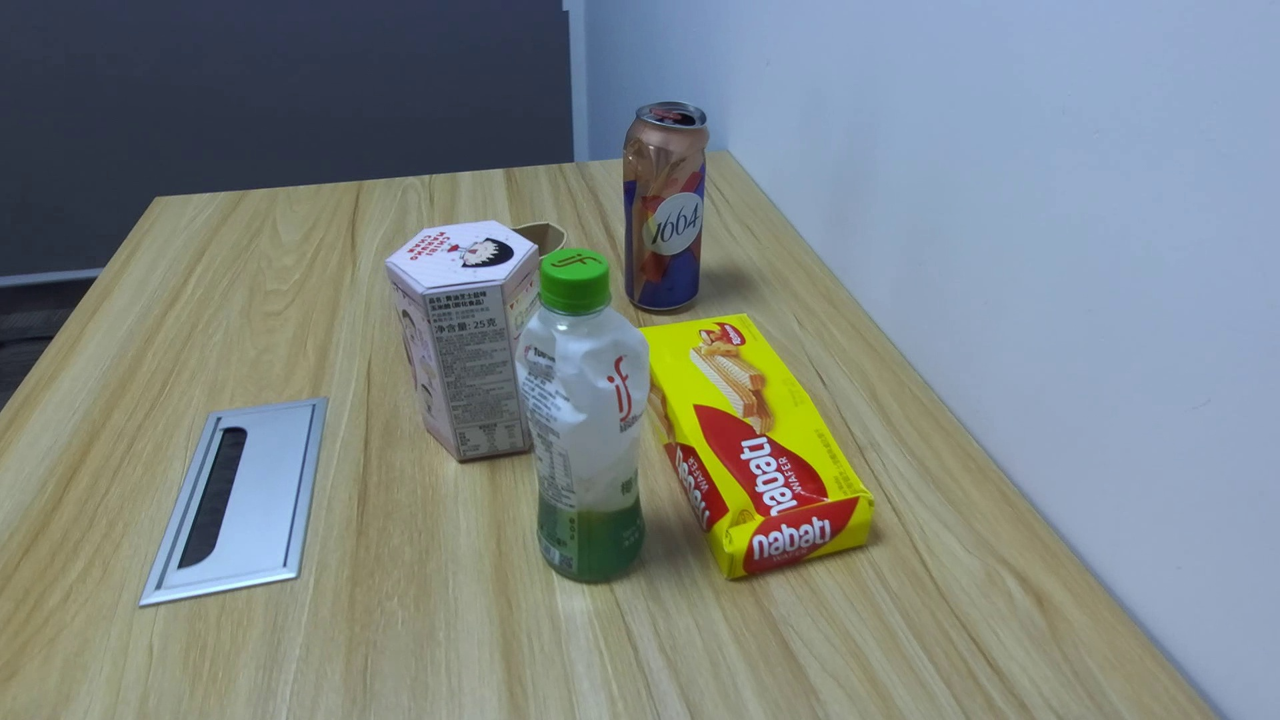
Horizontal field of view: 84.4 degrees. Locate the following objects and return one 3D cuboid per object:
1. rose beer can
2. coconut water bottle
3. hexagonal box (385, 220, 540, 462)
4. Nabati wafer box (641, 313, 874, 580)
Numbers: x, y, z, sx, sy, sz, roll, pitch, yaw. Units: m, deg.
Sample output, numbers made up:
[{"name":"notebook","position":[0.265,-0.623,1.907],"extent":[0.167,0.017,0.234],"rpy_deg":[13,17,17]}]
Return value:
[{"name":"rose beer can","position":[0.022,-0.121,0.585],"extent":[0.076,0.167,0.065],"rpy_deg":[-24,45,-31]},{"name":"coconut water bottle","position":[-0.028,0.033,0.368],"extent":[0.067,0.187,0.067],"rpy_deg":[0,35,0]},{"name":"hexagonal box","position":[-0.107,-0.011,0.466],"extent":[0.083,0.136,0.091],"rpy_deg":[11,38,15]},{"name":"Nabati wafer box","position":[0.067,0.044,0.474],"extent":[0.096,0.042,0.202],"rpy_deg":[-8,39,-12]}]
